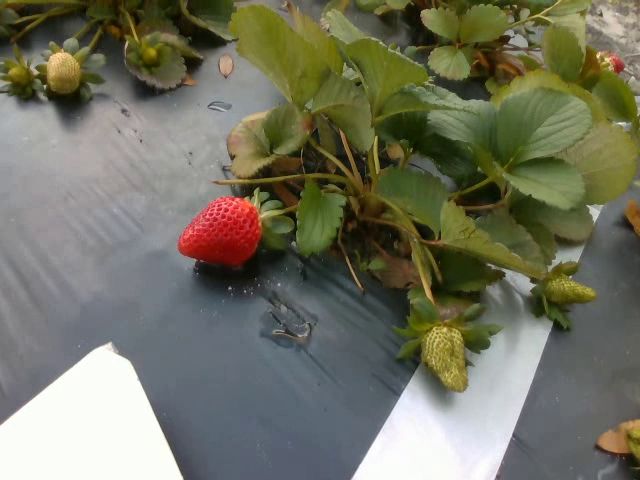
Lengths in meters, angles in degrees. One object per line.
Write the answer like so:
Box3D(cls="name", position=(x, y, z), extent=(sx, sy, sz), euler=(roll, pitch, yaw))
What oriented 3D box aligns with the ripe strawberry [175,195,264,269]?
Box3D(cls="ripe strawberry", position=(-0.046, -0.004, 0.299), extent=(0.046, 0.040, 0.036), euler=(-10, 25, -36))
